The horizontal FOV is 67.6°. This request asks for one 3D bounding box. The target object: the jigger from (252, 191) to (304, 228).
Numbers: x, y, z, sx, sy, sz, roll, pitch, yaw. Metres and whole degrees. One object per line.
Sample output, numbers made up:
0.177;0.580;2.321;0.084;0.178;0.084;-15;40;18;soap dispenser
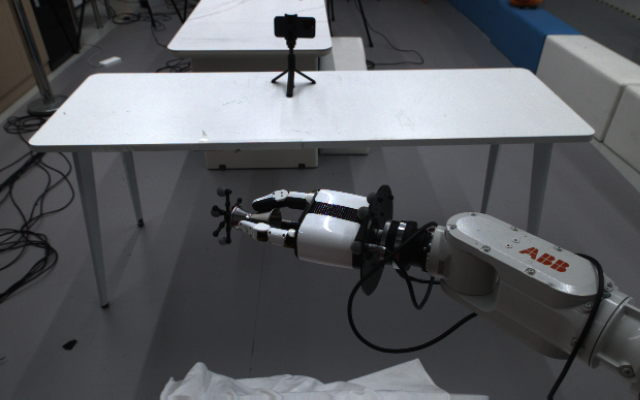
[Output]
-0.094;0.029;0.755;0.071;0.043;0.043;5;34;21;jigger
